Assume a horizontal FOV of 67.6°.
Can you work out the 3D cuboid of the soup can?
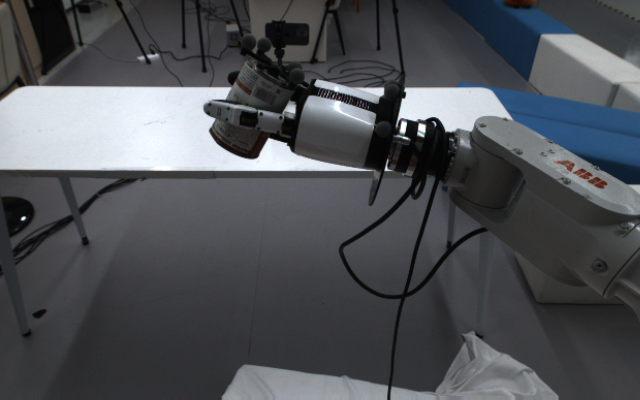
[{"bbox_3d":[-0.080,-0.108,0.581,0.067,0.101,0.067,28,21,-12],"label":"soup can"}]
